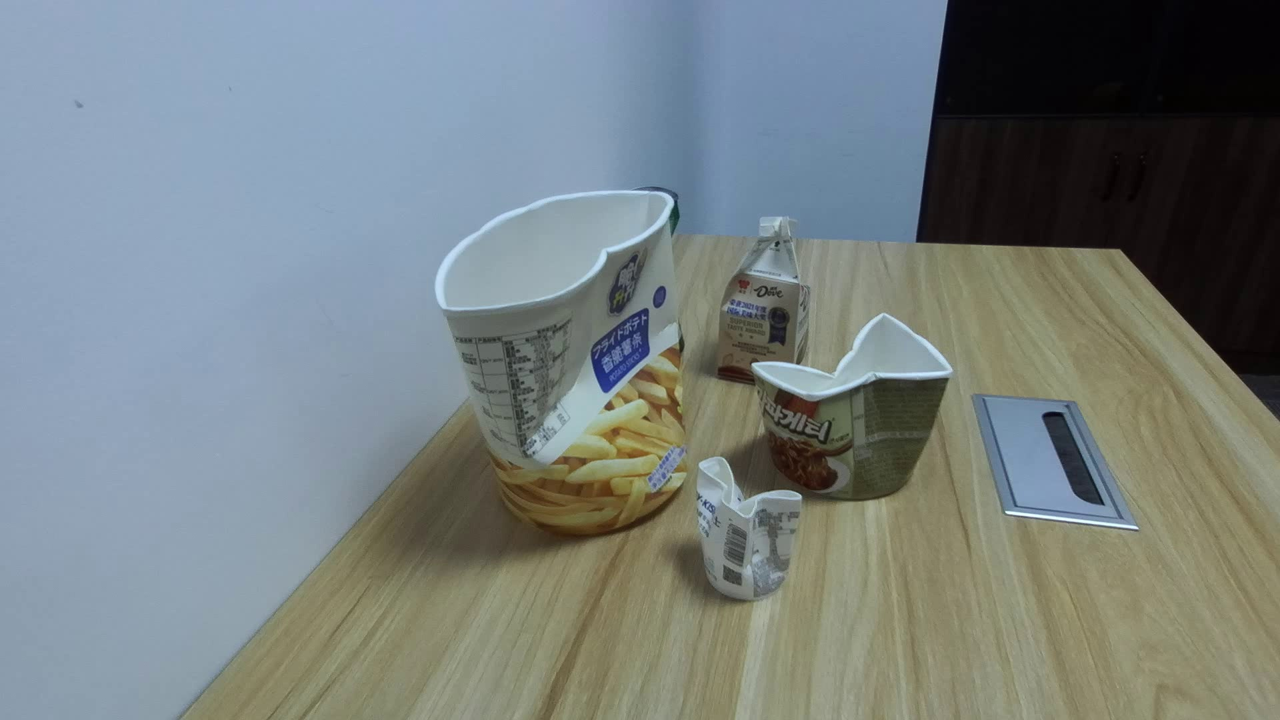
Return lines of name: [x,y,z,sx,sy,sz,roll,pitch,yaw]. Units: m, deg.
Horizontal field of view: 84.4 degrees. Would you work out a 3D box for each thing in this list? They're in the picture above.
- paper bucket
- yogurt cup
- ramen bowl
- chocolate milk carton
paper bucket: [-0.039,-0.001,0.500,0.147,0.199,0.217,-4,29,-2]
yogurt cup: [0.064,0.102,0.431,0.055,0.072,0.054,-14,32,-14]
ramen bowl: [0.147,0.034,0.527,0.128,0.093,0.111,-9,30,-10]
chocolate milk carton: [0.117,-0.060,0.642,0.073,0.156,0.076,10,28,21]
